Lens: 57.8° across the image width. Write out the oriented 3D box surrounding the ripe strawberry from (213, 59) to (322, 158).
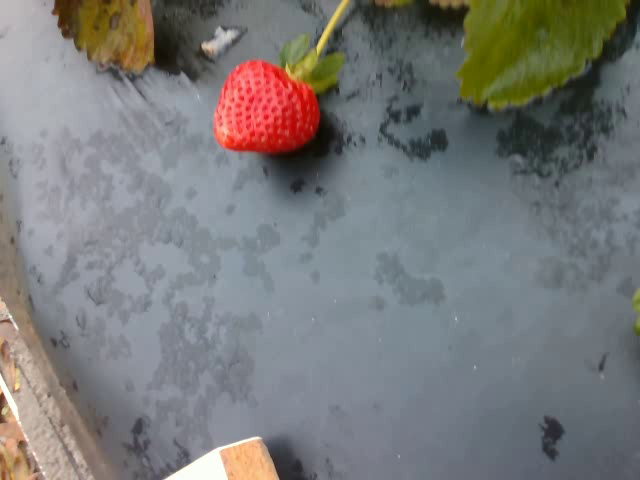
[{"bbox_3d":[-0.025,-0.053,0.242,0.045,0.048,0.053,10,47,44],"label":"ripe strawberry"}]
